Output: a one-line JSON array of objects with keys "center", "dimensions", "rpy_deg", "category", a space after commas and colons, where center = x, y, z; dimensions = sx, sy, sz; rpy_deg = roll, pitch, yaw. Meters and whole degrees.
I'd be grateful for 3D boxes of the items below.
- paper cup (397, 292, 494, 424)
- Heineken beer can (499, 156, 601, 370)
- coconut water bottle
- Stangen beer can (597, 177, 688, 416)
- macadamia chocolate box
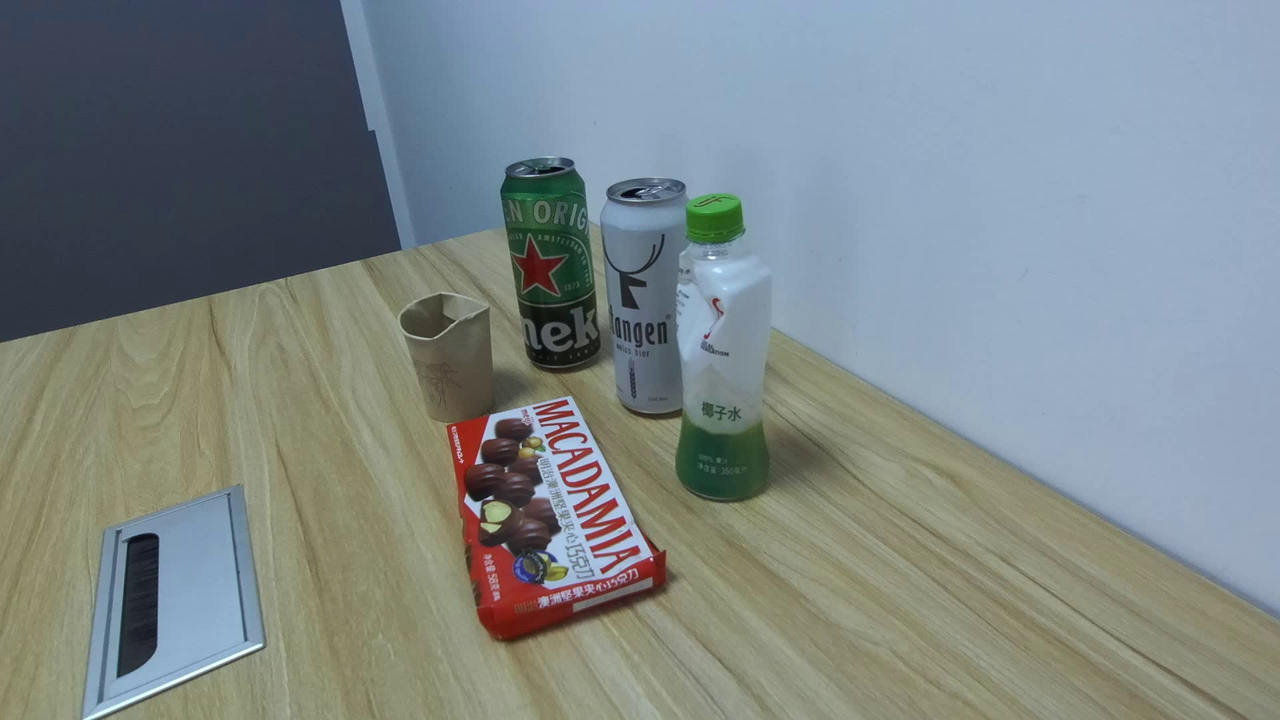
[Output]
[{"center": [-0.150, 0.000, 0.552], "dimensions": [0.066, 0.084, 0.072], "rpy_deg": [18, 35, 34], "category": "paper cup"}, {"center": [-0.071, -0.076, 0.588], "dimensions": [0.067, 0.169, 0.067], "rpy_deg": [-3, 29, 2], "category": "Heineken beer can"}, {"center": [0.049, -0.006, 0.426], "dimensions": [0.069, 0.187, 0.069], "rpy_deg": [-3, 31, 2], "category": "coconut water bottle"}, {"center": [0.010, -0.043, 0.517], "dimensions": [0.067, 0.171, 0.067], "rpy_deg": [-2, 29, 2], "category": "Stangen beer can"}, {"center": [-0.063, 0.088, 0.447], "dimensions": [0.106, 0.028, 0.182], "rpy_deg": [-14, 33, -16], "category": "macadamia chocolate box"}]
